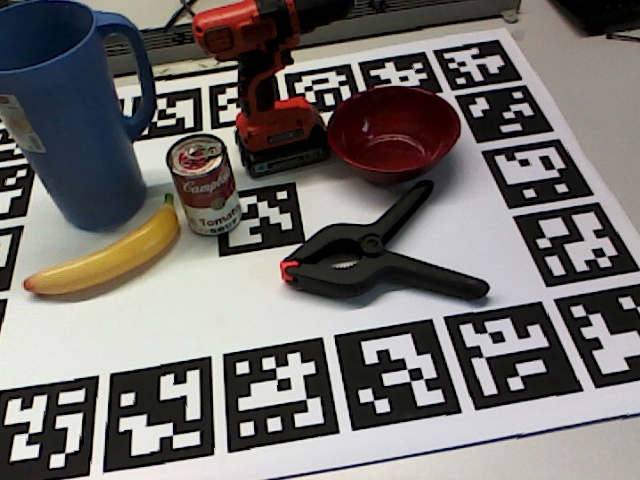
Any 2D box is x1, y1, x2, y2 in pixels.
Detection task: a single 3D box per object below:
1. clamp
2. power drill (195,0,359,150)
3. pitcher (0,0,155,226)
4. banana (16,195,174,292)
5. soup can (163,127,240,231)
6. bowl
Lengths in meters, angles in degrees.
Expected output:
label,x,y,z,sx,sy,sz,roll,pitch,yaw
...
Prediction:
label,x,y,z,sx,sy,sz,roll,pitch,yaw
clamp,0.052,0.006,0.665,0.202,0.036,0.166,-12,54,-4
power drill,-0.041,-0.203,0.735,0.184,0.186,0.057,-14,51,-6
pitcher,-0.270,-0.139,0.698,0.188,0.241,0.134,-30,51,-17
banana,-0.245,0.012,0.705,0.197,0.038,0.075,-30,45,-19
soup can,-0.135,-0.069,0.716,0.068,0.101,0.068,-5,42,4
bowl,0.083,-0.126,0.766,0.162,0.055,0.162,-3,52,4
